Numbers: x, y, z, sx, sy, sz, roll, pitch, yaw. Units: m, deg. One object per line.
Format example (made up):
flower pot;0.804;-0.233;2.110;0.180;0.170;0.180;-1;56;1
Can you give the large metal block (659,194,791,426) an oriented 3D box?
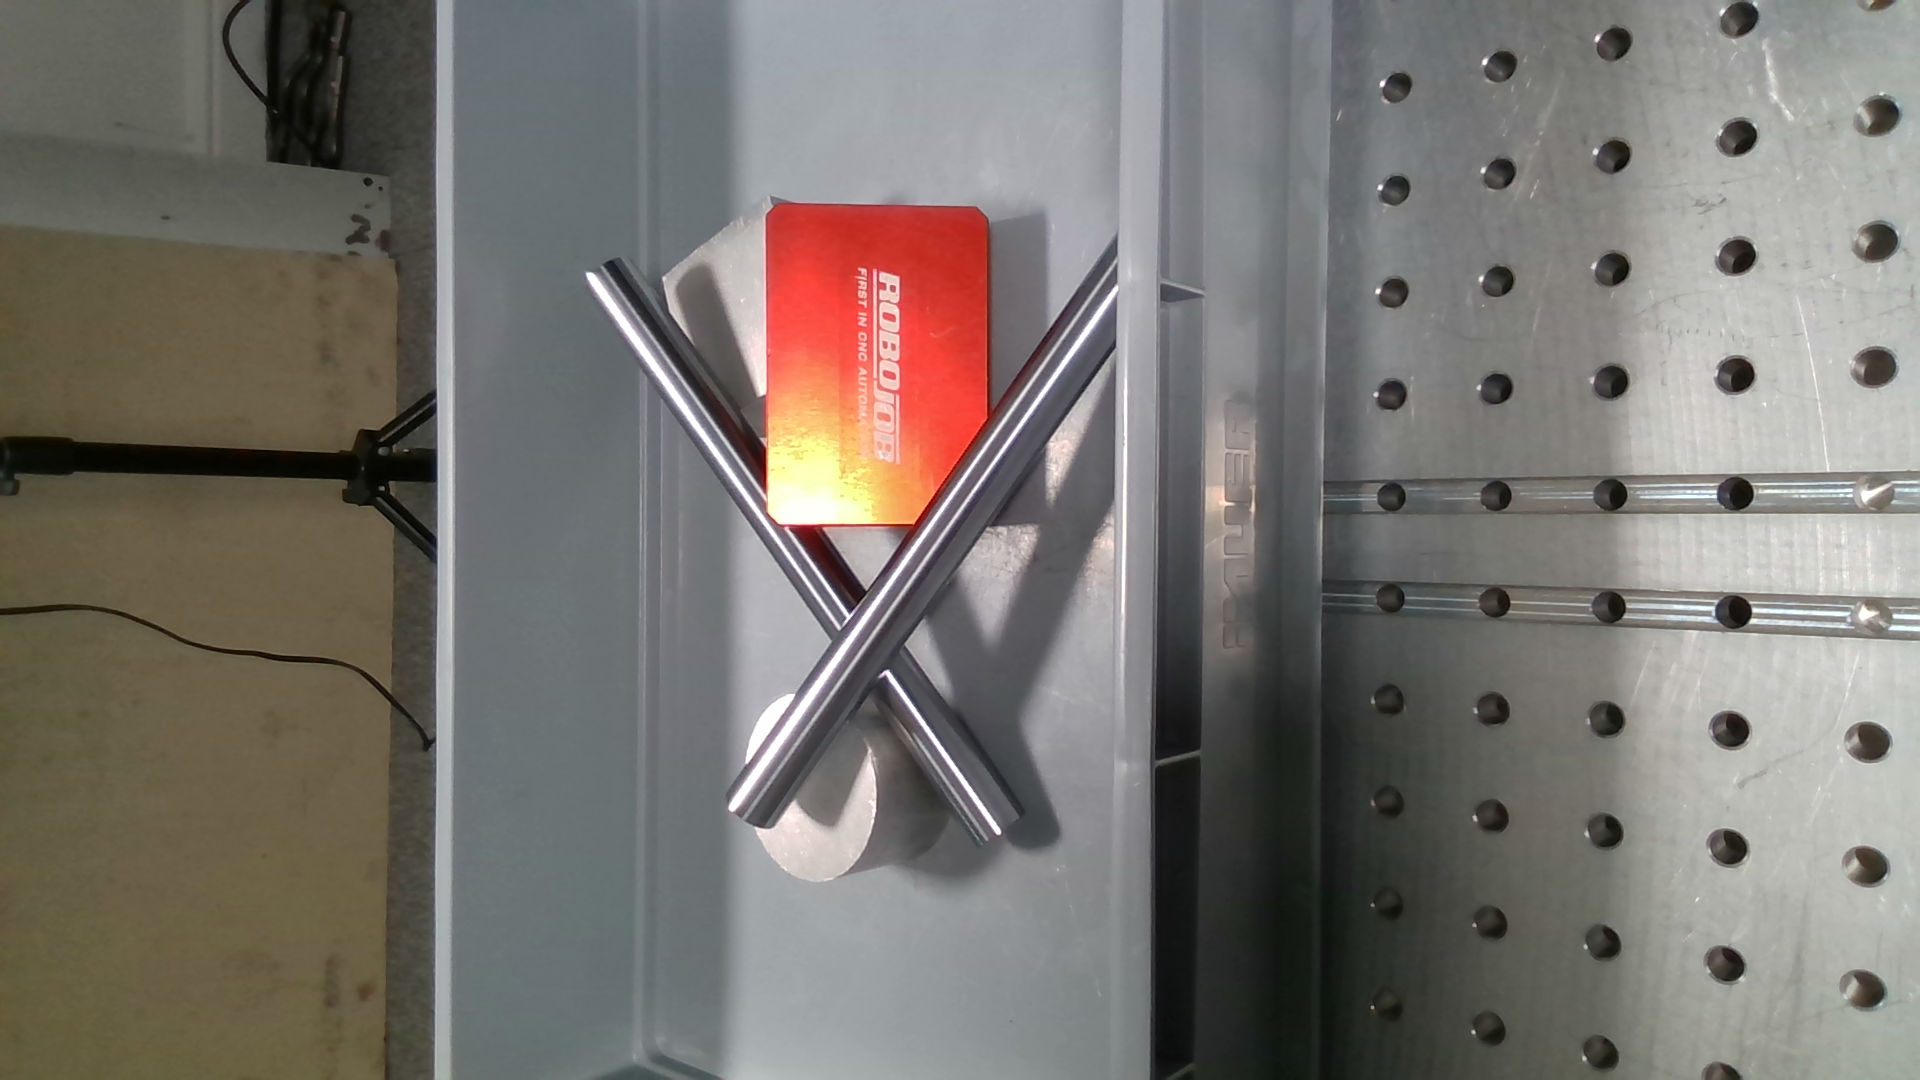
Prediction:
large metal block;-0.086;-0.099;0.632;0.080;0.050;0.080;-25;75;38

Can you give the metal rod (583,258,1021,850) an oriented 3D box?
metal rod;-0.071;0.001;0.593;0.025;0.025;0.300;-42;78;32

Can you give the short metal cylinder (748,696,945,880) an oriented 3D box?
short metal cylinder;-0.049;0.105;0.606;0.080;0.050;0.080;0;91;40

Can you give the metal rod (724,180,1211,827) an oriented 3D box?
metal rod;-0.002;-0.008;0.544;0.025;0.025;0.300;43;104;31

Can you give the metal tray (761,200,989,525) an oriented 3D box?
metal tray;-0.035;-0.071;0.570;0.090;0.030;0.130;1;89;-4
